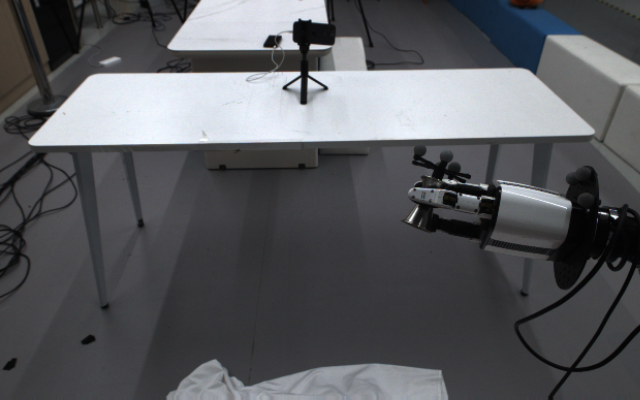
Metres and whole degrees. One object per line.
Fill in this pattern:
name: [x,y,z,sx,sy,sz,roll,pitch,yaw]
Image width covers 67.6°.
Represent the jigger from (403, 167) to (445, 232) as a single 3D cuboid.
jigger: [0.140,0.003,0.650,0.043,0.071,0.043,25,-3,1]
